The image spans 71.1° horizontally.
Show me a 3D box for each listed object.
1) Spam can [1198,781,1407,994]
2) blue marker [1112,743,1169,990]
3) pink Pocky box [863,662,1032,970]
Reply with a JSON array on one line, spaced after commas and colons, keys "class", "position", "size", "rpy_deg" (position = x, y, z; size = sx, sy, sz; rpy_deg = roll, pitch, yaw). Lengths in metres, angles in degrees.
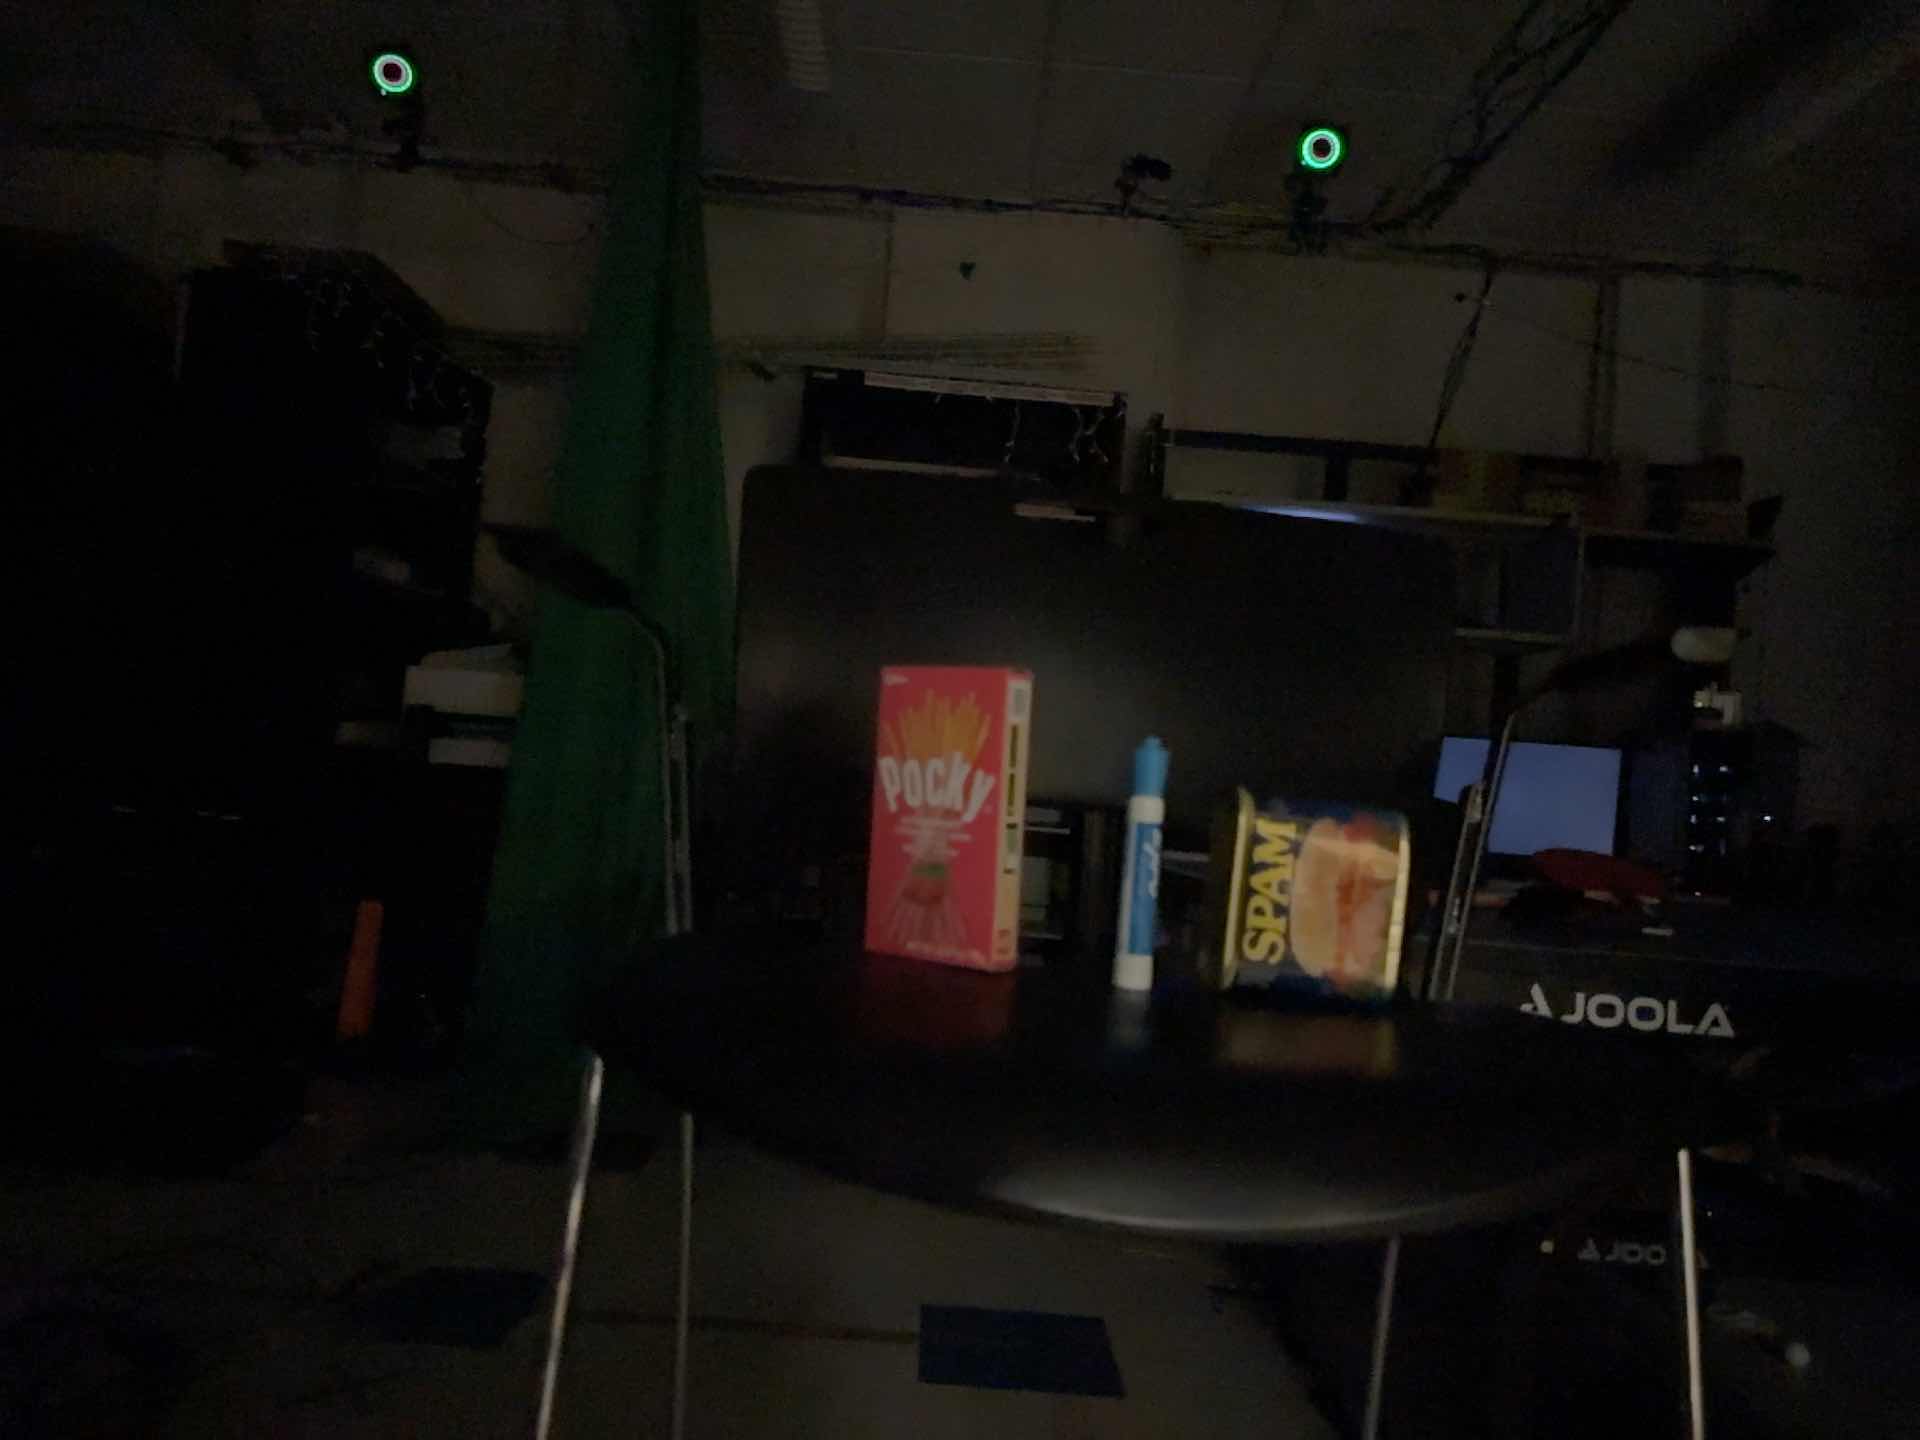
[{"class": "Spam can", "position": [0.173, 0.086, 0.681], "size": [0.083, 0.100, 0.056], "rpy_deg": [7, -1, -7]}, {"class": "blue marker", "position": [0.089, 0.072, 0.665], "size": [0.020, 0.121, 0.020], "rpy_deg": [5, 1, 0]}, {"class": "pink Pocky box", "position": [-0.008, 0.047, 0.701], "size": [0.084, 0.155, 0.029], "rpy_deg": [3, 0, 35]}]
